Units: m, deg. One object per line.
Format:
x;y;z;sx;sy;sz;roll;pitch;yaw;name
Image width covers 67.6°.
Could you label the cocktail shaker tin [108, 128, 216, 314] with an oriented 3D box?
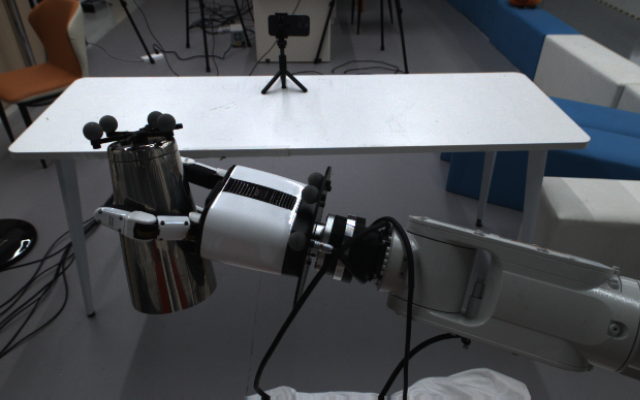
-0.169;0.024;0.509;0.093;0.170;0.093;-6;19;2;cocktail shaker tin
